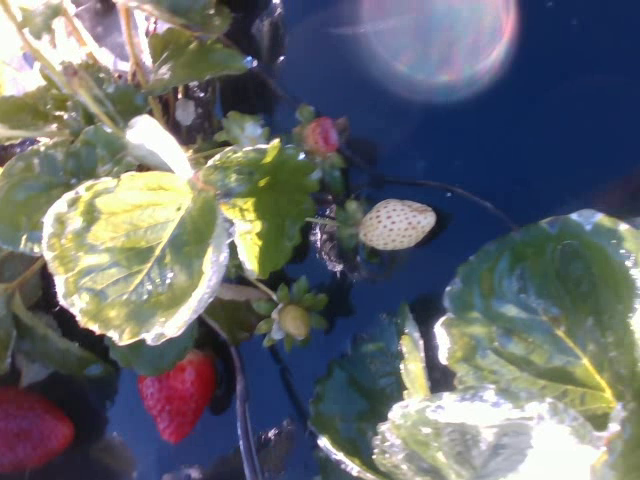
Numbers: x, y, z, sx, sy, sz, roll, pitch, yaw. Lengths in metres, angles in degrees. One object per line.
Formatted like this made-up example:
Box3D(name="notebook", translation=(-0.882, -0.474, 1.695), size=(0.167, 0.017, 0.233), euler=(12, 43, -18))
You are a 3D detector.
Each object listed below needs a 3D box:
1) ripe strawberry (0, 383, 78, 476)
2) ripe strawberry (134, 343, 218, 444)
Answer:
Box3D(name="ripe strawberry", translation=(-0.146, 0.096, 0.296), size=(0.056, 0.044, 0.040), euler=(3, 11, 7))
Box3D(name="ripe strawberry", translation=(-0.061, 0.068, 0.265), size=(0.039, 0.047, 0.040), euler=(-8, -2, 9))
